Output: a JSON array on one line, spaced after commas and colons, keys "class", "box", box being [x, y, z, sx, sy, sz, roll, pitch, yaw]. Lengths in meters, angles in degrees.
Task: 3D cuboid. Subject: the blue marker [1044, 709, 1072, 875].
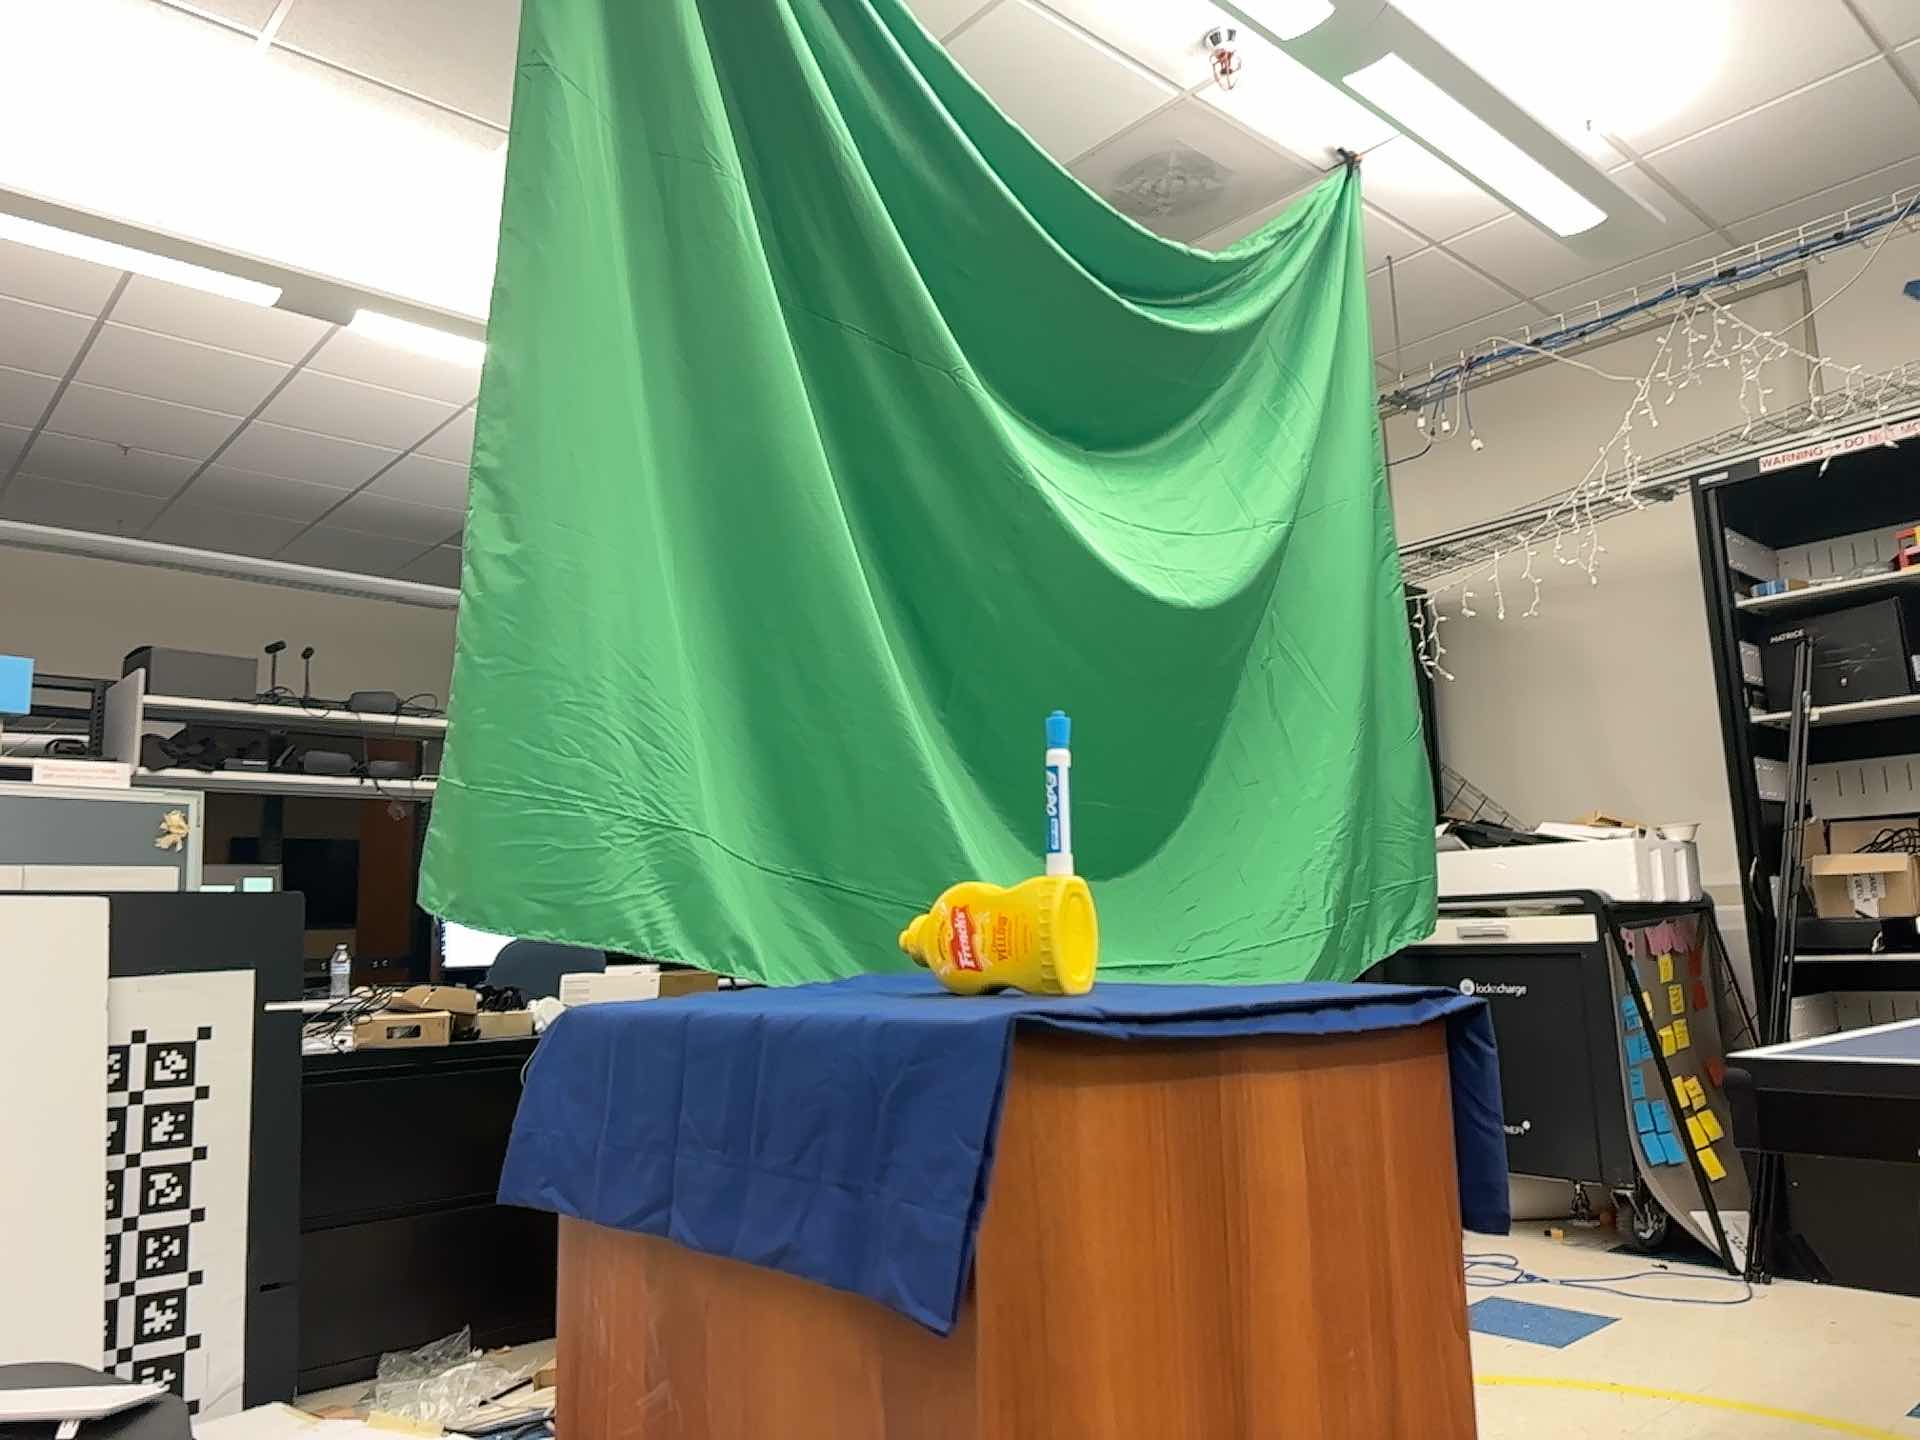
[{"class": "blue marker", "box": [0.072, 0.052, 0.987, 0.020, 0.121, 0.020, 0, -10, 0]}]

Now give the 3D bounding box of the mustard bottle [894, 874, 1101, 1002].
[{"class": "mustard bottle", "box": [0.019, 0.166, 1.022, 0.184, 0.092, 0.054, -9, -5, 42]}]
